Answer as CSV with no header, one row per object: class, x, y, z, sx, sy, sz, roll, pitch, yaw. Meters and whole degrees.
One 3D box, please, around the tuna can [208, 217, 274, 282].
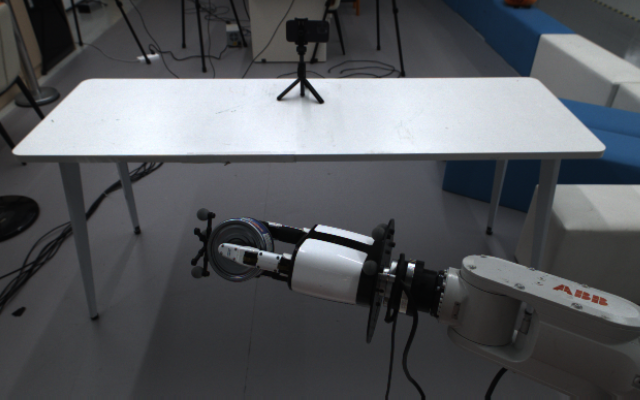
tuna can,-0.105,0.065,0.650,0.085,0.085,0.034,10,3,11
